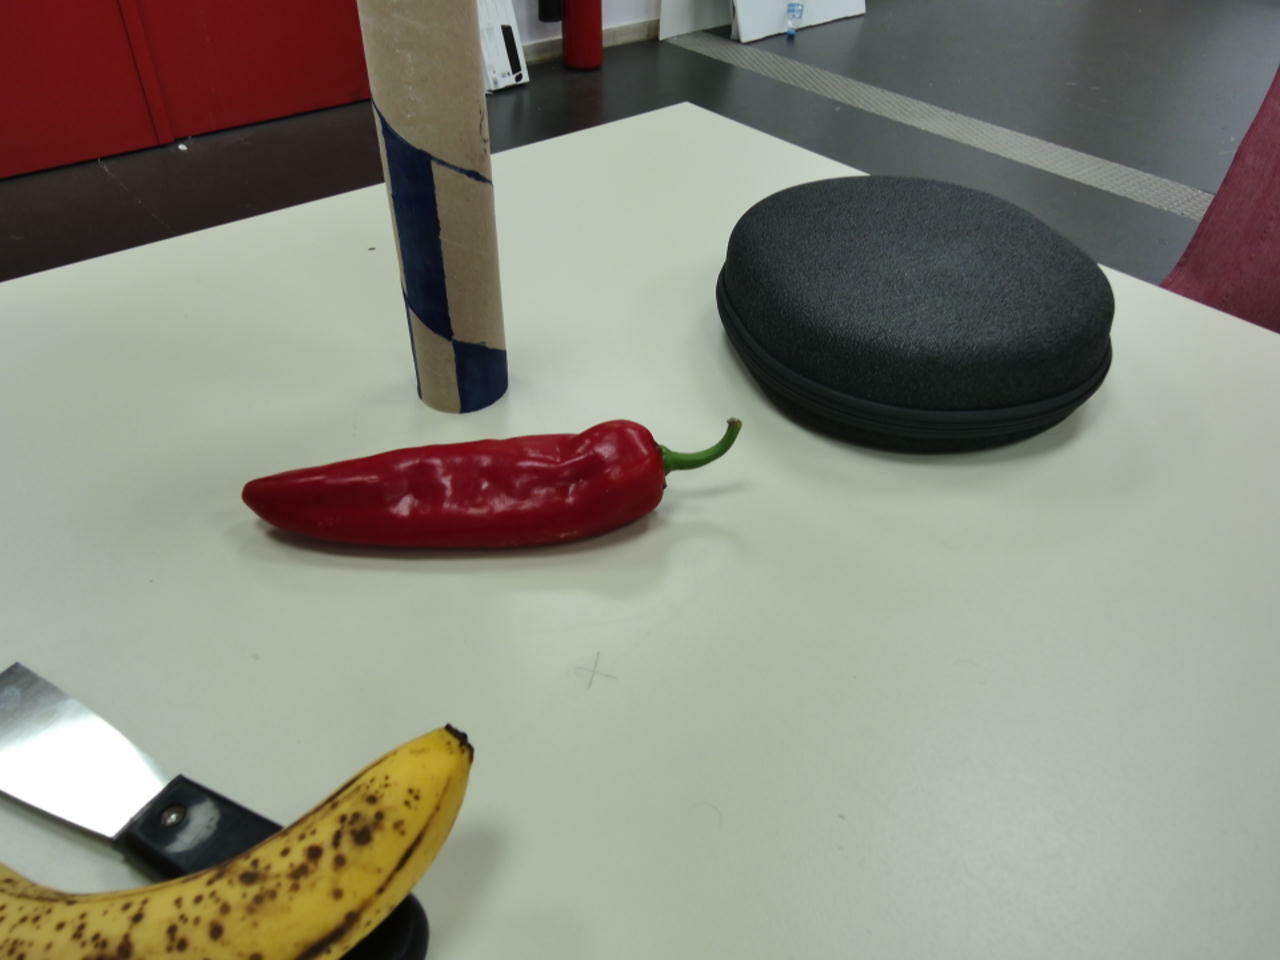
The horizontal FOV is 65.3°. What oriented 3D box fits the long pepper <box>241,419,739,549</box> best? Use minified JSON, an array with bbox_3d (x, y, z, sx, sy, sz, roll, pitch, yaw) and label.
[{"bbox_3d":[-0.063,0.002,0.429,0.211,0.043,0.050,-5,37,-7],"label":"long pepper"}]
